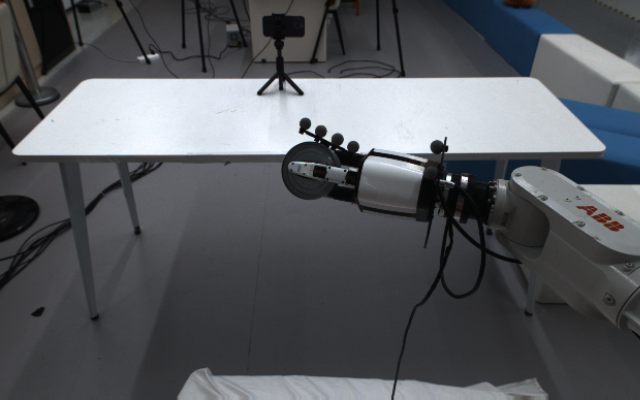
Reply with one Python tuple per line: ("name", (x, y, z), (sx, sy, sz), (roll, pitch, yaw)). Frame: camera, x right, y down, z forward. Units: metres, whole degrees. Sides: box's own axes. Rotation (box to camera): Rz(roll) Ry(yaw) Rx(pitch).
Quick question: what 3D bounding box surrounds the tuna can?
("tuna can", (-0.011, -0.043, 0.720), (0.085, 0.085, 0.034), (10, 5, 11))
